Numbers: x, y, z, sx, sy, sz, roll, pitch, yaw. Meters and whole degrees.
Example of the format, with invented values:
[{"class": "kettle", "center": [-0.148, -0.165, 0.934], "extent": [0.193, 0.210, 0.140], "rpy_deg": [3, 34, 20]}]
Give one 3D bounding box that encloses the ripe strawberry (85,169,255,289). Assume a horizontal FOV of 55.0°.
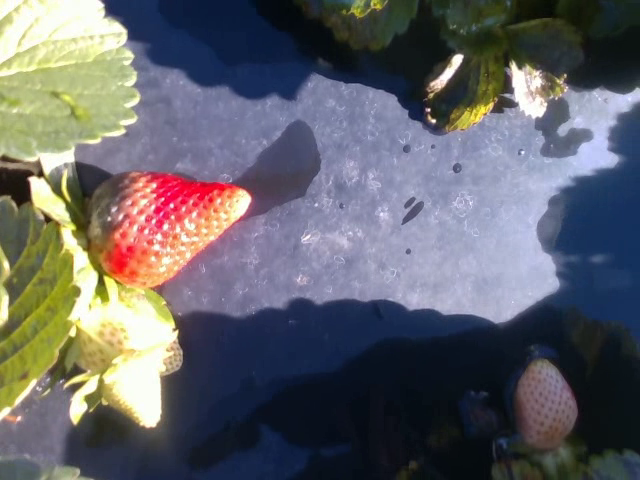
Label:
[{"class": "ripe strawberry", "center": [-0.052, -0.008, 0.218], "extent": [0.064, 0.050, 0.052], "rpy_deg": [-21, 45, -1]}]
